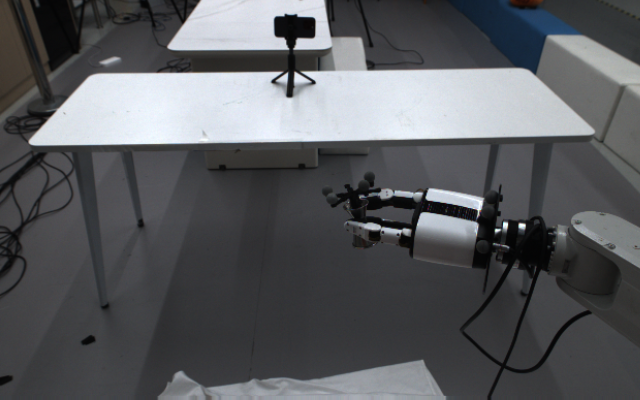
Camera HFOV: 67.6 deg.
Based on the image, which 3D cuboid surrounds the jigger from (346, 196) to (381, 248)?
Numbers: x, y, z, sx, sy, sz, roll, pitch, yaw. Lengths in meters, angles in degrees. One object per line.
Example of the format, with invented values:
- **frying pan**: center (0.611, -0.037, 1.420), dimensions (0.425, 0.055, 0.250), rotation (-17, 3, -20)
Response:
- **jigger**: center (0.064, 0.035, 0.752), dimensions (0.043, 0.071, 0.043), rotation (-14, 21, 6)
